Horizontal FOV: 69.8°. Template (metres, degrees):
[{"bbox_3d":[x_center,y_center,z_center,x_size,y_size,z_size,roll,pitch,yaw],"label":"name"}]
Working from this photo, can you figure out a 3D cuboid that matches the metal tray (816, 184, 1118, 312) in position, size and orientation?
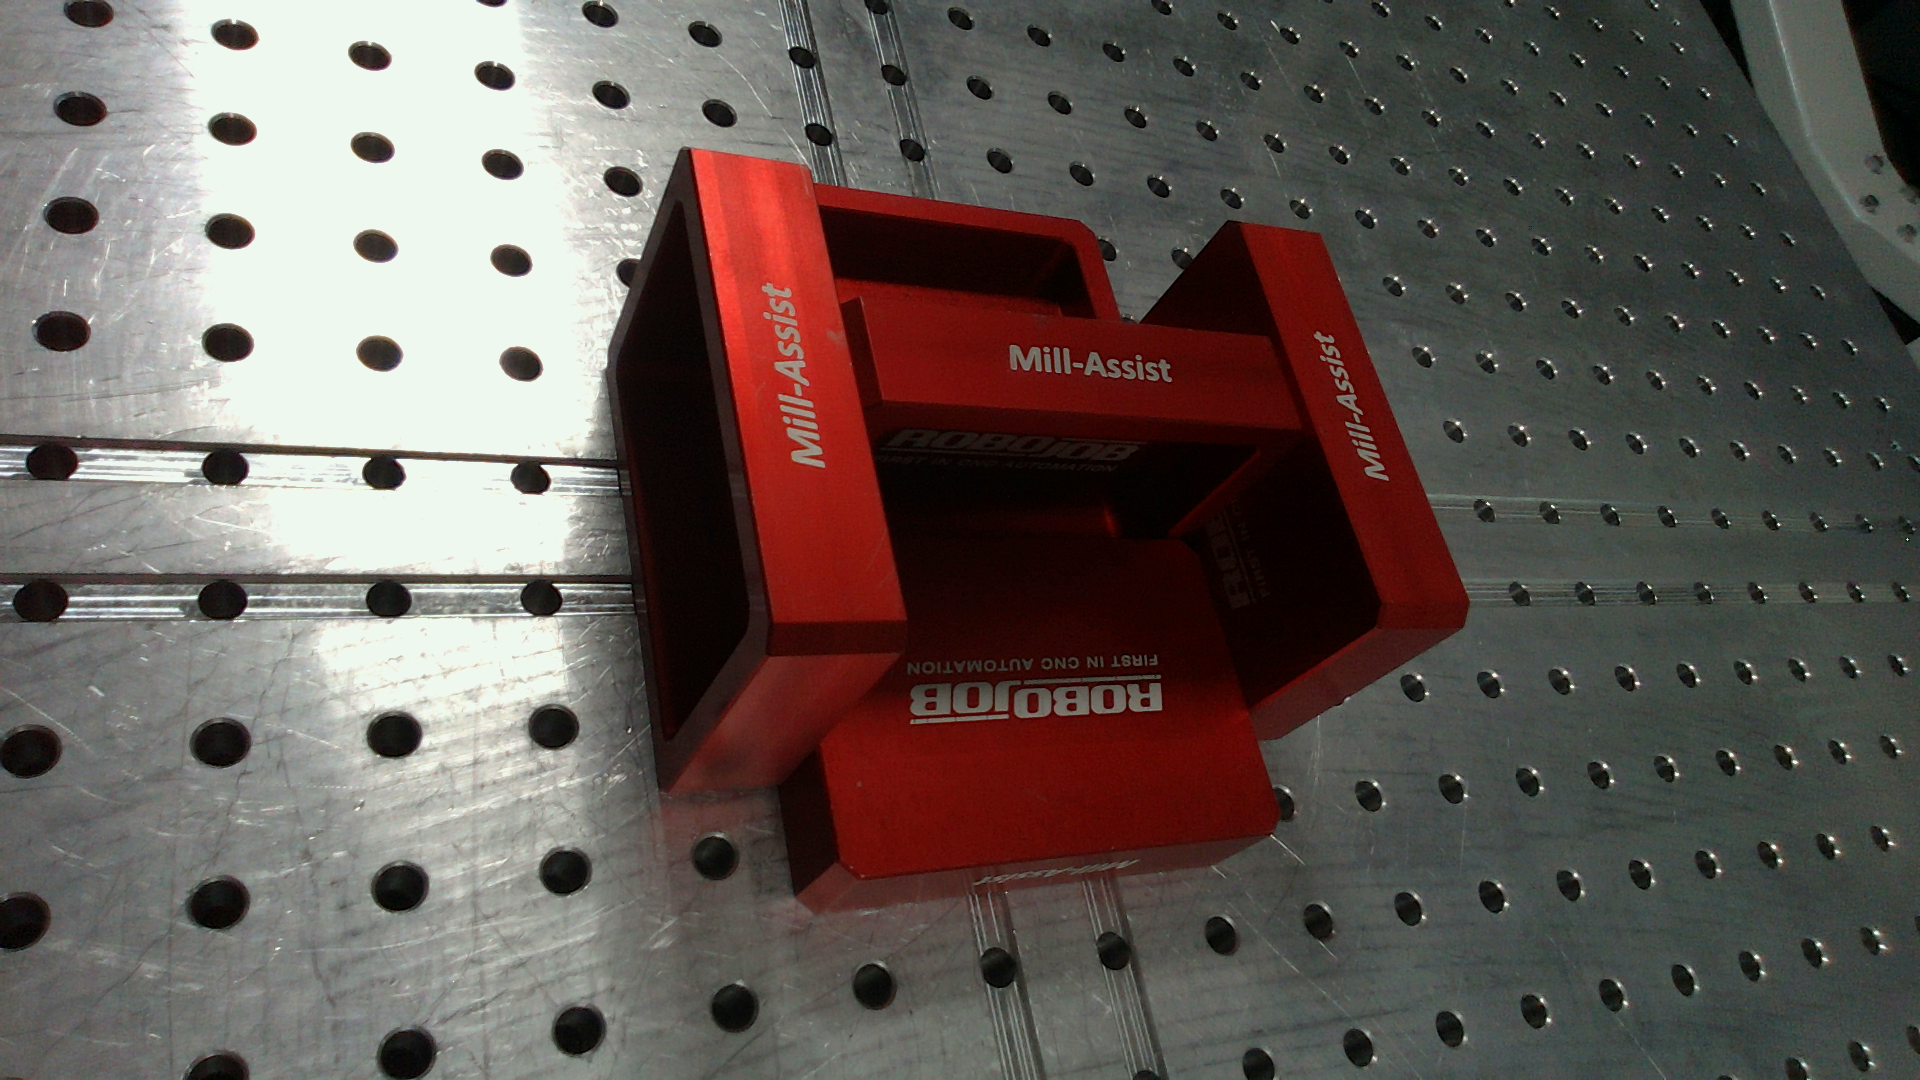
[{"bbox_3d":[-0.010,-0.061,0.421,0.130,0.030,0.090,1,61,-28],"label":"metal tray"}]

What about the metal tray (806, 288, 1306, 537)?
[{"bbox_3d":[0.015,-0.023,0.371,0.130,0.090,0.030,1,61,-28],"label":"metal tray"}]

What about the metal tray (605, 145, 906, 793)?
[{"bbox_3d":[-0.055,-0.016,0.330,0.030,0.090,0.130,1,61,-28],"label":"metal tray"}]

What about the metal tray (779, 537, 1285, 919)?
[{"bbox_3d":[0.016,0.046,0.368,0.130,0.030,0.090,1,61,-28],"label":"metal tray"}]

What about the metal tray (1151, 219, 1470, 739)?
[{"bbox_3d":[0.087,-0.016,0.407,0.030,0.090,0.130,1,61,-28],"label":"metal tray"}]
